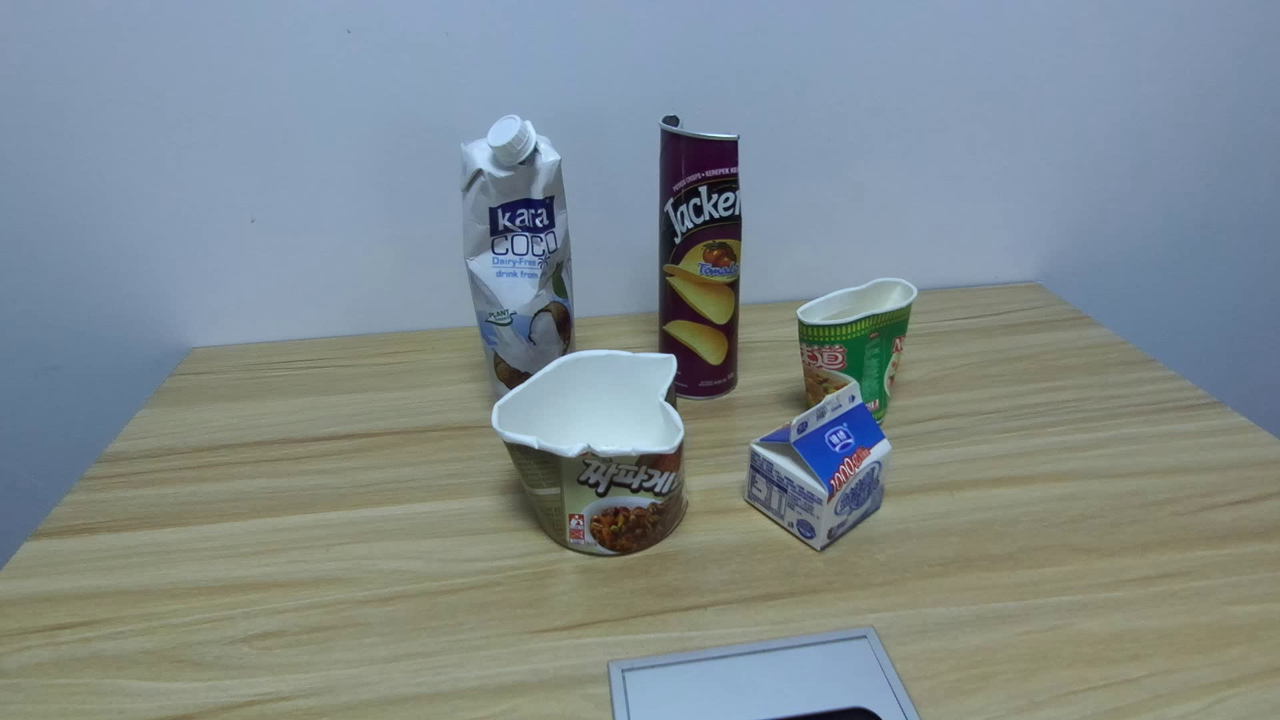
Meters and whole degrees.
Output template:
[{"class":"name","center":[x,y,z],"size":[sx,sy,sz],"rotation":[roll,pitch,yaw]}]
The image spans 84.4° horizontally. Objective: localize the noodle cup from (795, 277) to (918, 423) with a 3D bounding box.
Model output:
[{"class":"noodle cup","center":[0.179,-0.004,0.597],"size":[0.115,0.111,0.070],"rotation":[-7,30,-9]}]

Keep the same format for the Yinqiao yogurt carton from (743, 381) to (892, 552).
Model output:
[{"class":"Yinqiao yogurt carton","center":[0.125,0.066,0.496],"size":[0.076,0.092,0.073],"rotation":[-24,36,-32]}]

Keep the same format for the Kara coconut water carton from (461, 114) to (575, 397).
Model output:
[{"class":"Kara coconut water carton","center":[-0.097,-0.070,0.576],"size":[0.083,0.256,0.078],"rotation":[-3,31,-3]}]

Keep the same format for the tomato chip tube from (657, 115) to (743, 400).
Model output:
[{"class":"tomato chip tube","center":[0.053,-0.084,0.615],"size":[0.076,0.235,0.078],"rotation":[5,29,12]}]

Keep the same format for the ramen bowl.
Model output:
[{"class":"ramen bowl","center":[-0.032,0.065,0.500],"size":[0.134,0.097,0.113],"rotation":[-2,33,-4]}]
